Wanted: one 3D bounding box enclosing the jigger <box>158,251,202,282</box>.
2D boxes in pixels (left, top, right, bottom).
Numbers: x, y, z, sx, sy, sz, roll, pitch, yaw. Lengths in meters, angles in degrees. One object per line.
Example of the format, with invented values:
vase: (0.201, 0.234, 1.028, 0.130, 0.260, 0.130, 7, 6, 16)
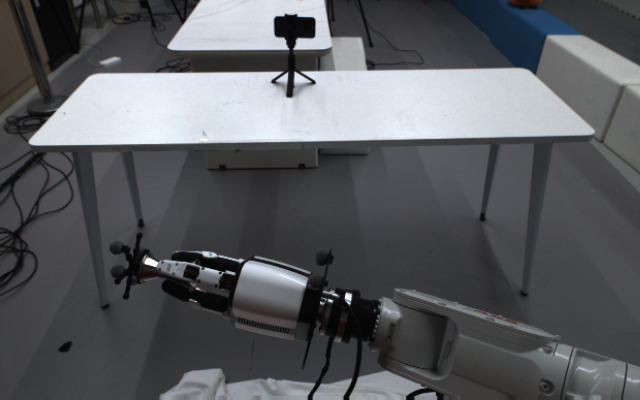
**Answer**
jigger: (-0.191, 0.092, 0.644, 0.071, 0.043, 0.043, 8, 35, 2)
